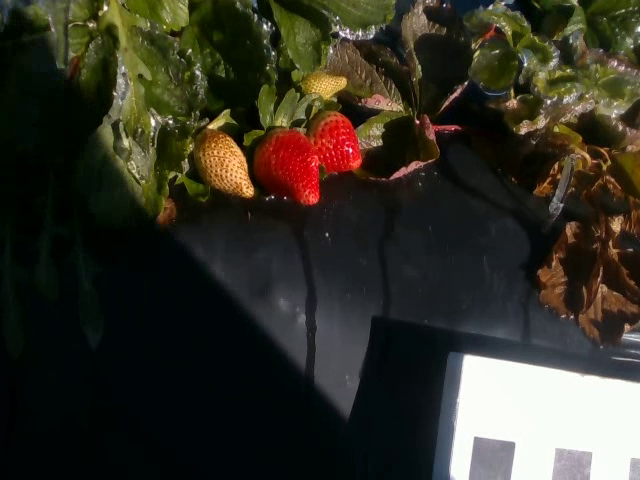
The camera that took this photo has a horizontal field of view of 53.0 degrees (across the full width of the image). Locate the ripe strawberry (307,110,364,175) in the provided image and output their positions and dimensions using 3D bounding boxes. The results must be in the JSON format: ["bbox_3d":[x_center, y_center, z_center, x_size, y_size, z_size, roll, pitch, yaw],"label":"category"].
[{"bbox_3d":[0.010,-0.054,0.361,0.041,0.036,0.030,37,-13,-2],"label":"ripe strawberry"}]

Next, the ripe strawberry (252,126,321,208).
[{"bbox_3d":[-0.012,-0.033,0.335,0.036,0.052,0.040,-29,-37,-15],"label":"ripe strawberry"}]
